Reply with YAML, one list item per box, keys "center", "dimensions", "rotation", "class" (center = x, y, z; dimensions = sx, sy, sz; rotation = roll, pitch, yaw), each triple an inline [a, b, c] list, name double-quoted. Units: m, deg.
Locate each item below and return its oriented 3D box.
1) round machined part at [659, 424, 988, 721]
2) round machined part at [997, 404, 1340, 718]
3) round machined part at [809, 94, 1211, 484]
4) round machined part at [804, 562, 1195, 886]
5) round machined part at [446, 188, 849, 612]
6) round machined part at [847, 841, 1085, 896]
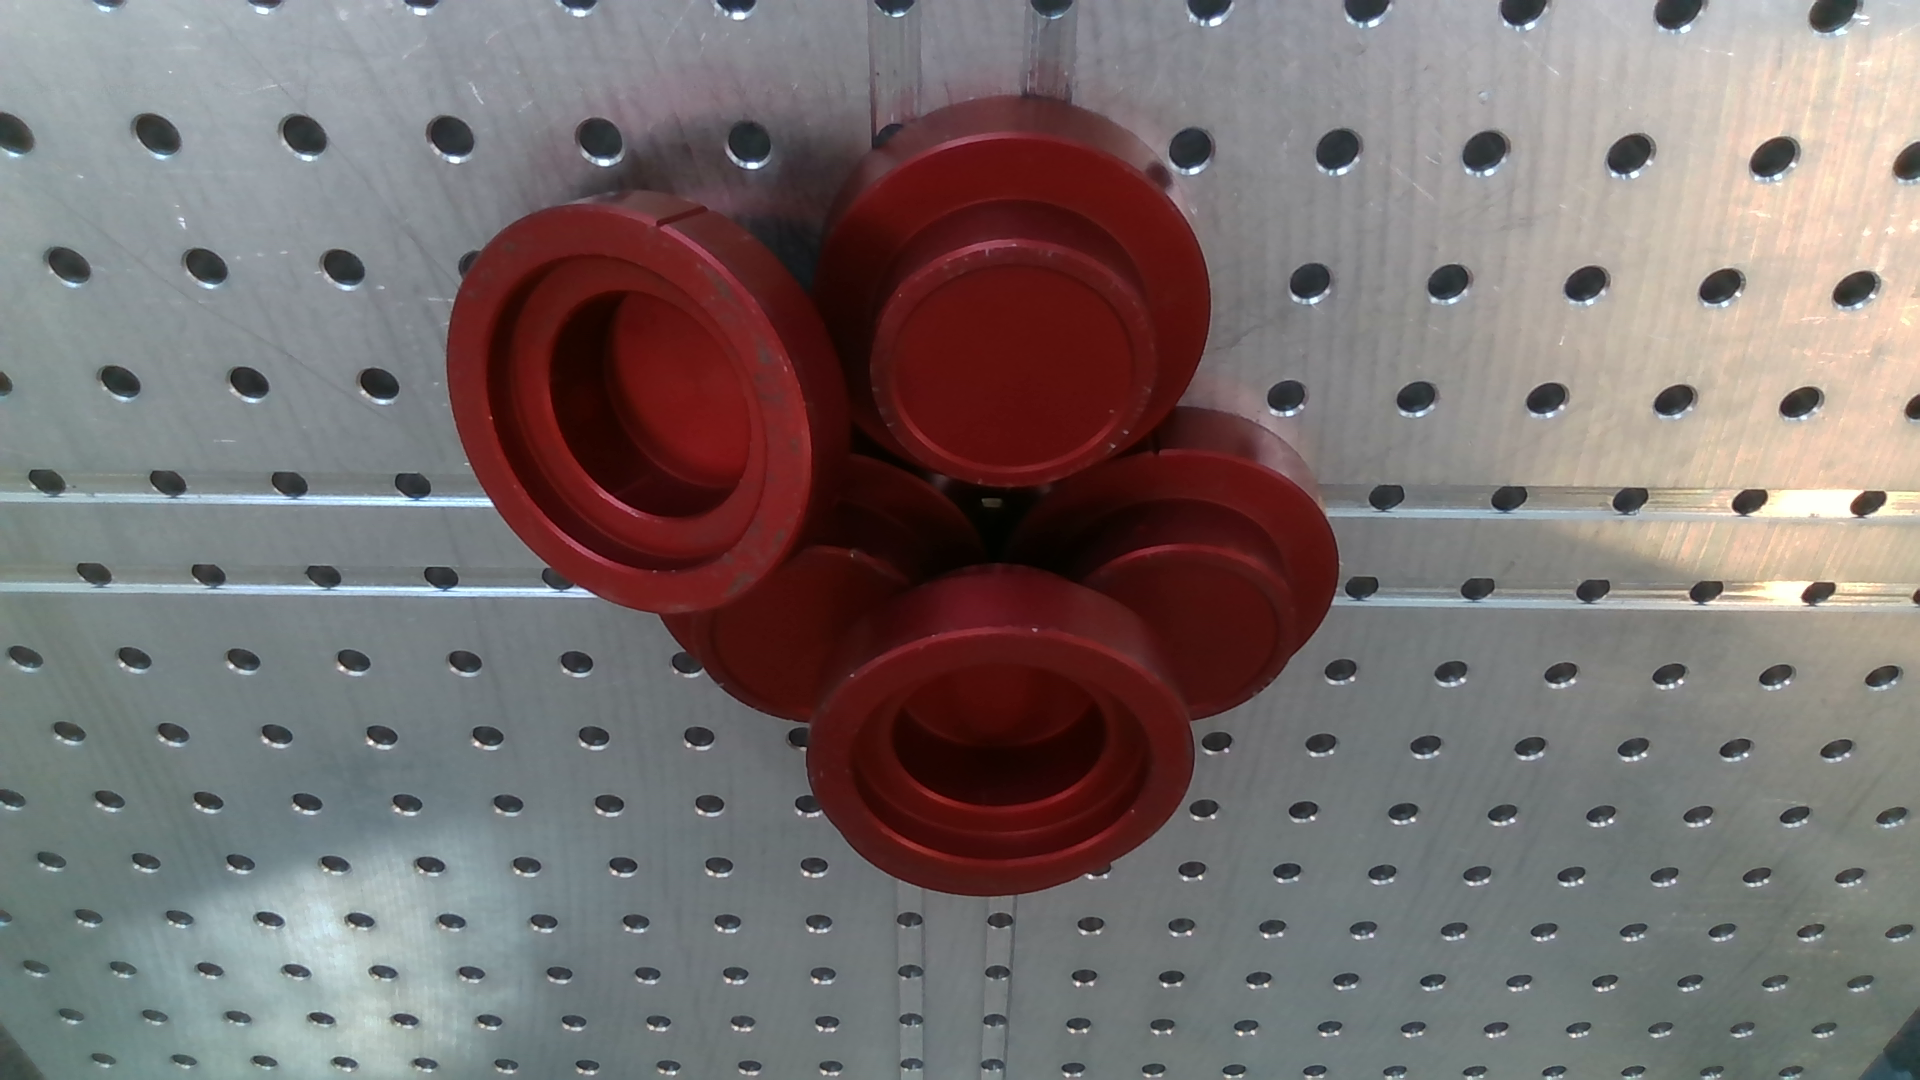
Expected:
- center: [-0.040, 0.014, 0.391]
  dimensions: [0.098, 0.042, 0.098]
  rotation: [0, 130, 0]
  class: "round machined part"
- center: [0.059, 0.013, 0.391]
  dimensions: [0.098, 0.042, 0.098]
  rotation: [0, 130, 0]
  class: "round machined part"
- center: [0.012, -0.053, 0.335]
  dimensions: [0.098, 0.042, 0.098]
  rotation: [0, 130, 0]
  class: "round machined part"
- center: [0.010, 0.045, 0.361]
  dimensions: [0.098, 0.042, 0.098]
  rotation: [0, 130, 0]
  class: "round machined part"
- center: [-0.071, -0.035, 0.333]
  dimensions: [0.098, 0.042, 0.098]
  rotation: [10, 117, 20]
  class: "round machined part"
- center: [0.009, 0.066, 0.435]
  dimensions: [0.098, 0.042, 0.098]
  rotation: [0, 130, 0]
  class: "round machined part"
